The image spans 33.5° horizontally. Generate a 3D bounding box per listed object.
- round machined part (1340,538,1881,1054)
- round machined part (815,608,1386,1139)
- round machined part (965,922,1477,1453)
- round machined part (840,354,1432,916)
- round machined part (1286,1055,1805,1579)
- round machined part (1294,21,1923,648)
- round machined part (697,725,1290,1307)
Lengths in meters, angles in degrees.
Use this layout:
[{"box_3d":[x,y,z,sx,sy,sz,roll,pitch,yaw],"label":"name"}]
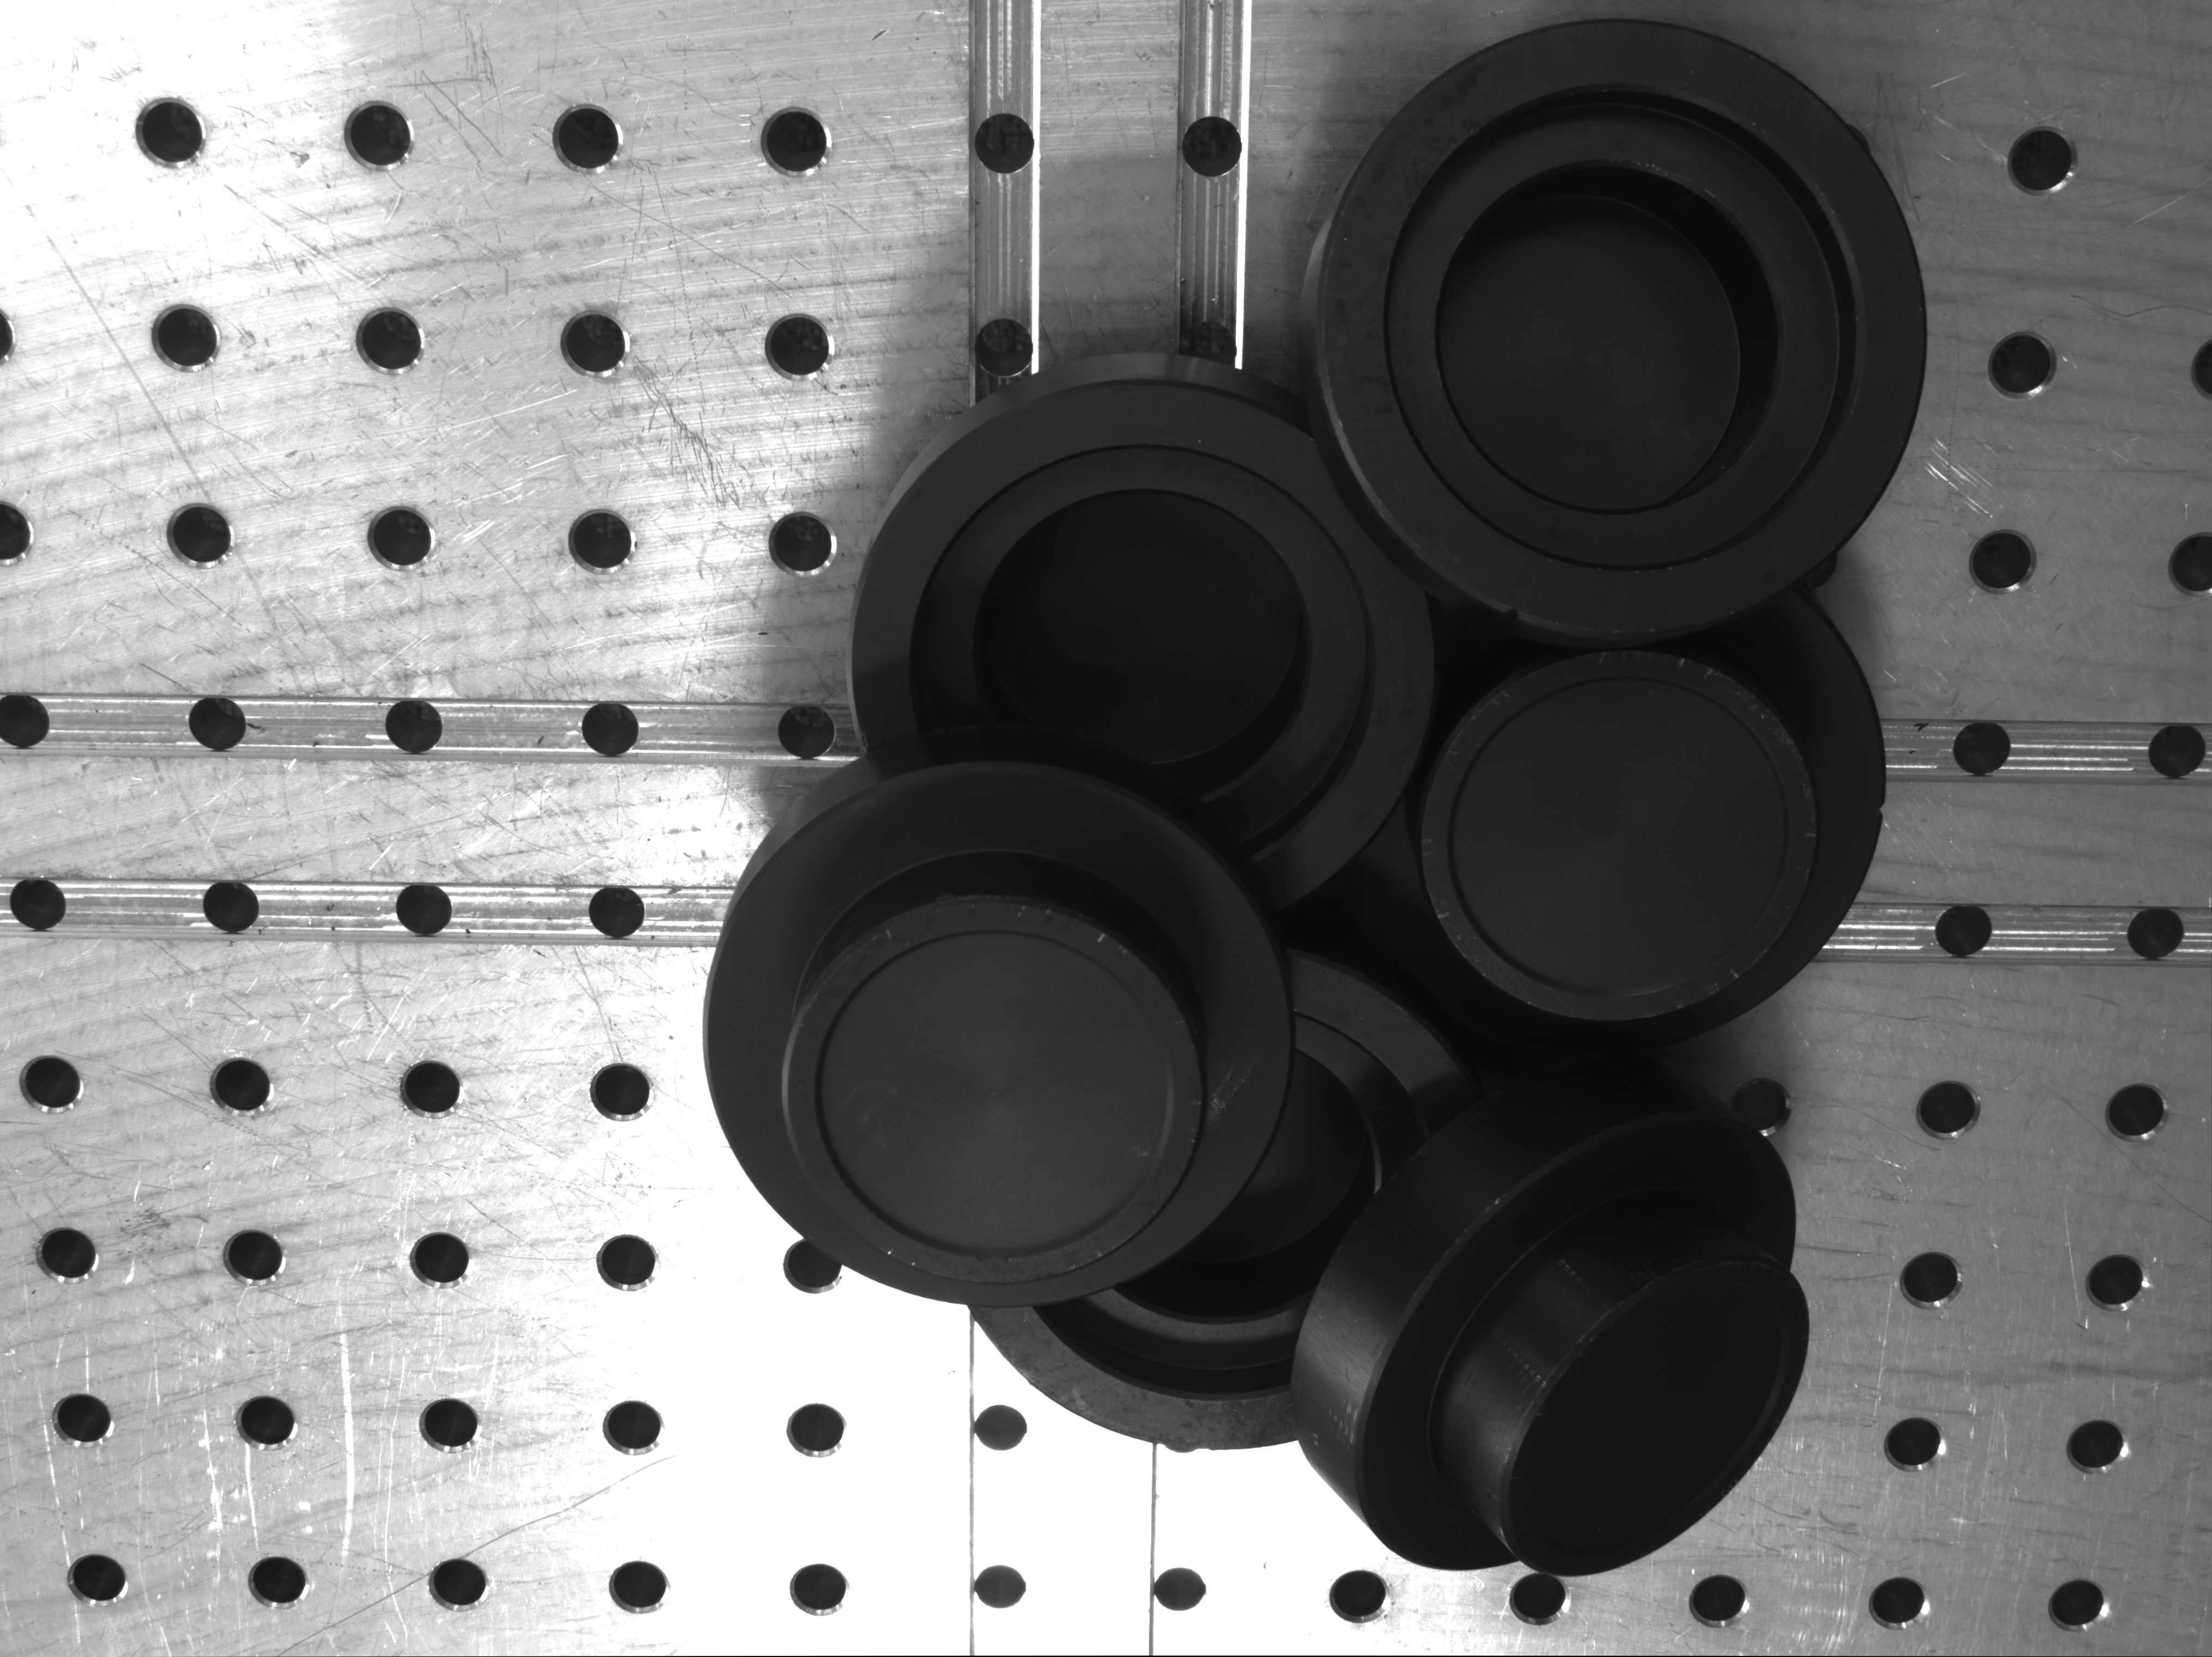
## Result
[{"box_3d":[0.085,-0.005,0.636,0.098,0.042,0.098,0,110,0],"label":"round machined part"},{"box_3d":[-0.002,0.008,0.640,0.098,0.042,0.098,0,110,0],"label":"round machined part"},{"box_3d":[0.020,0.059,0.659,0.098,0.042,0.098,0,110,0],"label":"round machined part"},{"box_3d":[0.005,-0.033,0.626,0.098,0.042,0.098,0,110,0],"label":"round machined part"},{"box_3d":[0.083,0.092,0.645,0.098,0.042,0.098,-20,129,-26],"label":"round machined part"},{"box_3d":[0.079,-0.078,0.597,0.098,0.042,0.098,0,89,-6],"label":"round machined part"},{"box_3d":[-0.019,0.036,0.606,0.098,0.042,0.098,0,110,0],"label":"round machined part"}]
